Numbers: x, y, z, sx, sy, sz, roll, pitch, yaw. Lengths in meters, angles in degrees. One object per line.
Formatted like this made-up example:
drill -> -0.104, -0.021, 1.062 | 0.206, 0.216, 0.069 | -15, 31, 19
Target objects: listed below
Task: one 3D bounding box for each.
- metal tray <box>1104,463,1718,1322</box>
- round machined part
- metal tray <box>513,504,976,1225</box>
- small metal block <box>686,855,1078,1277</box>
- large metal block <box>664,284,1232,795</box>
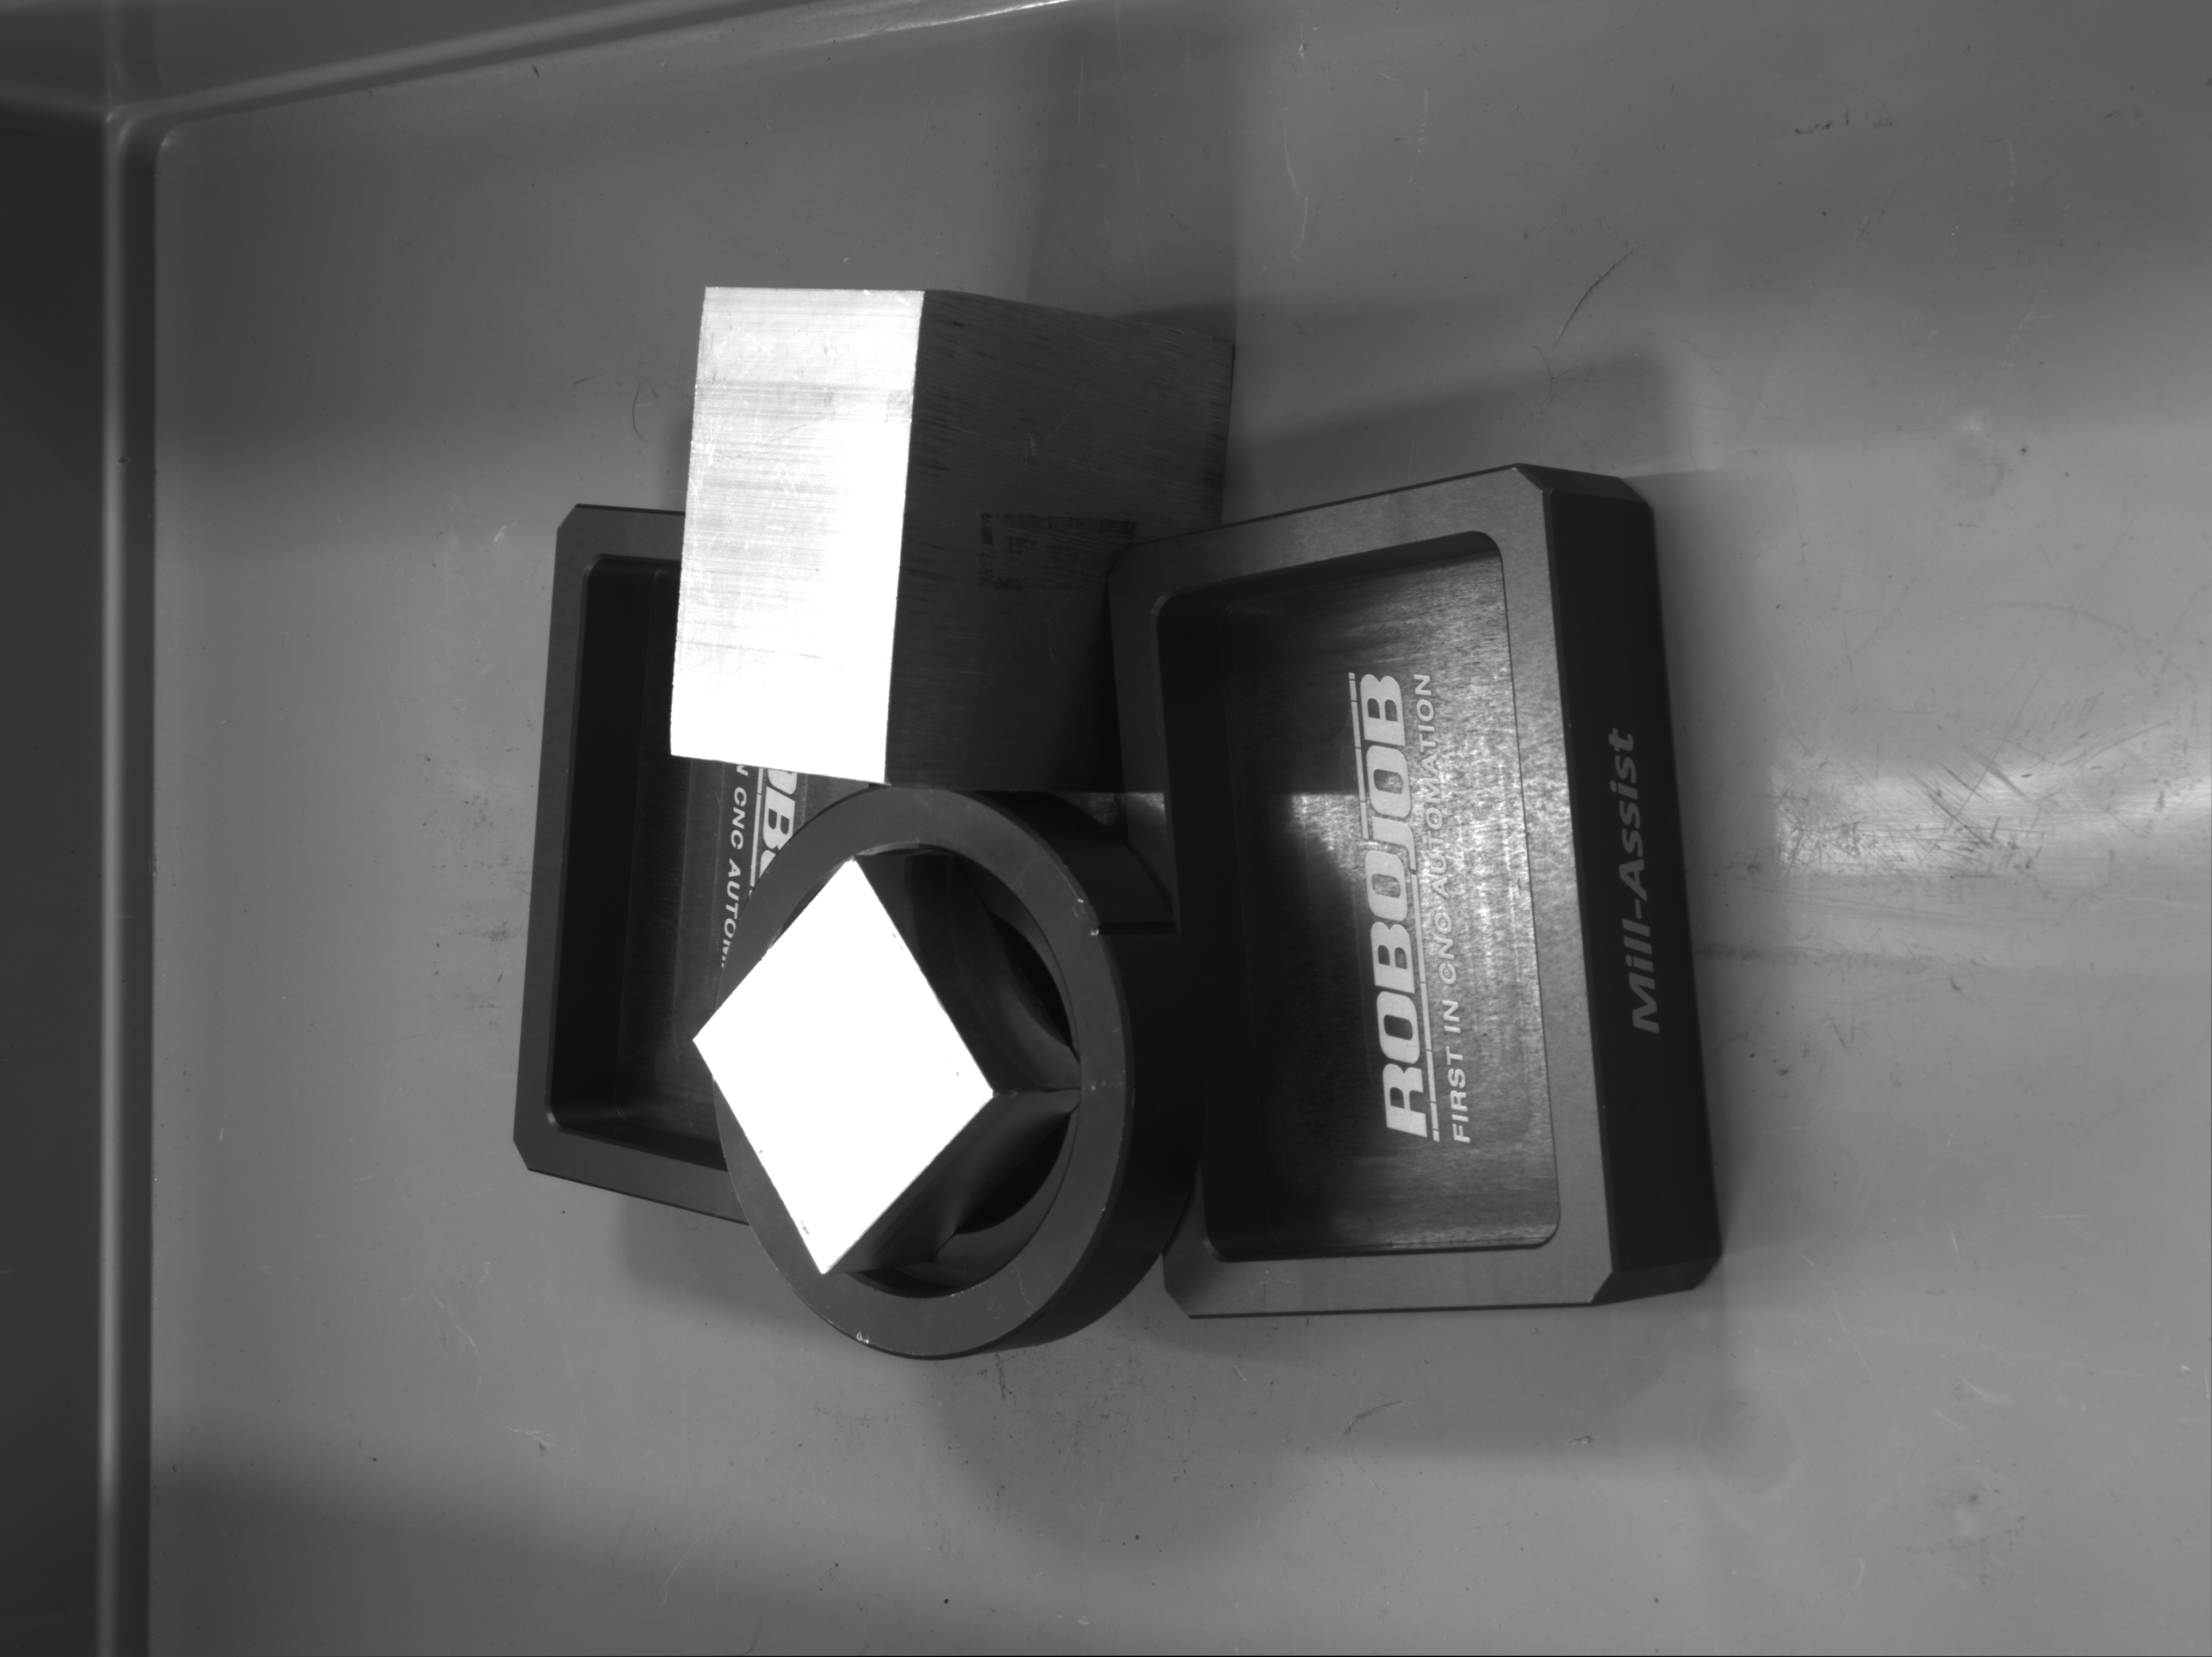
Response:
metal tray -> 0.048, 0.013, 0.600 | 0.090, 0.030, 0.130 | -9, 84, 40
round machined part -> -0.020, 0.041, 0.637 | 0.098, 0.042, 0.098 | 0, 90, 40
metal tray -> -0.068, 0.006, 0.697 | 0.090, 0.030, 0.130 | 8, 95, 40
small metal block -> -0.038, 0.040, 0.620 | 0.050, 0.025, 0.050 | -47, 62, 30
large metal block -> -0.026, -0.048, 0.630 | 0.050, 0.080, 0.080 | 8, 95, 40
